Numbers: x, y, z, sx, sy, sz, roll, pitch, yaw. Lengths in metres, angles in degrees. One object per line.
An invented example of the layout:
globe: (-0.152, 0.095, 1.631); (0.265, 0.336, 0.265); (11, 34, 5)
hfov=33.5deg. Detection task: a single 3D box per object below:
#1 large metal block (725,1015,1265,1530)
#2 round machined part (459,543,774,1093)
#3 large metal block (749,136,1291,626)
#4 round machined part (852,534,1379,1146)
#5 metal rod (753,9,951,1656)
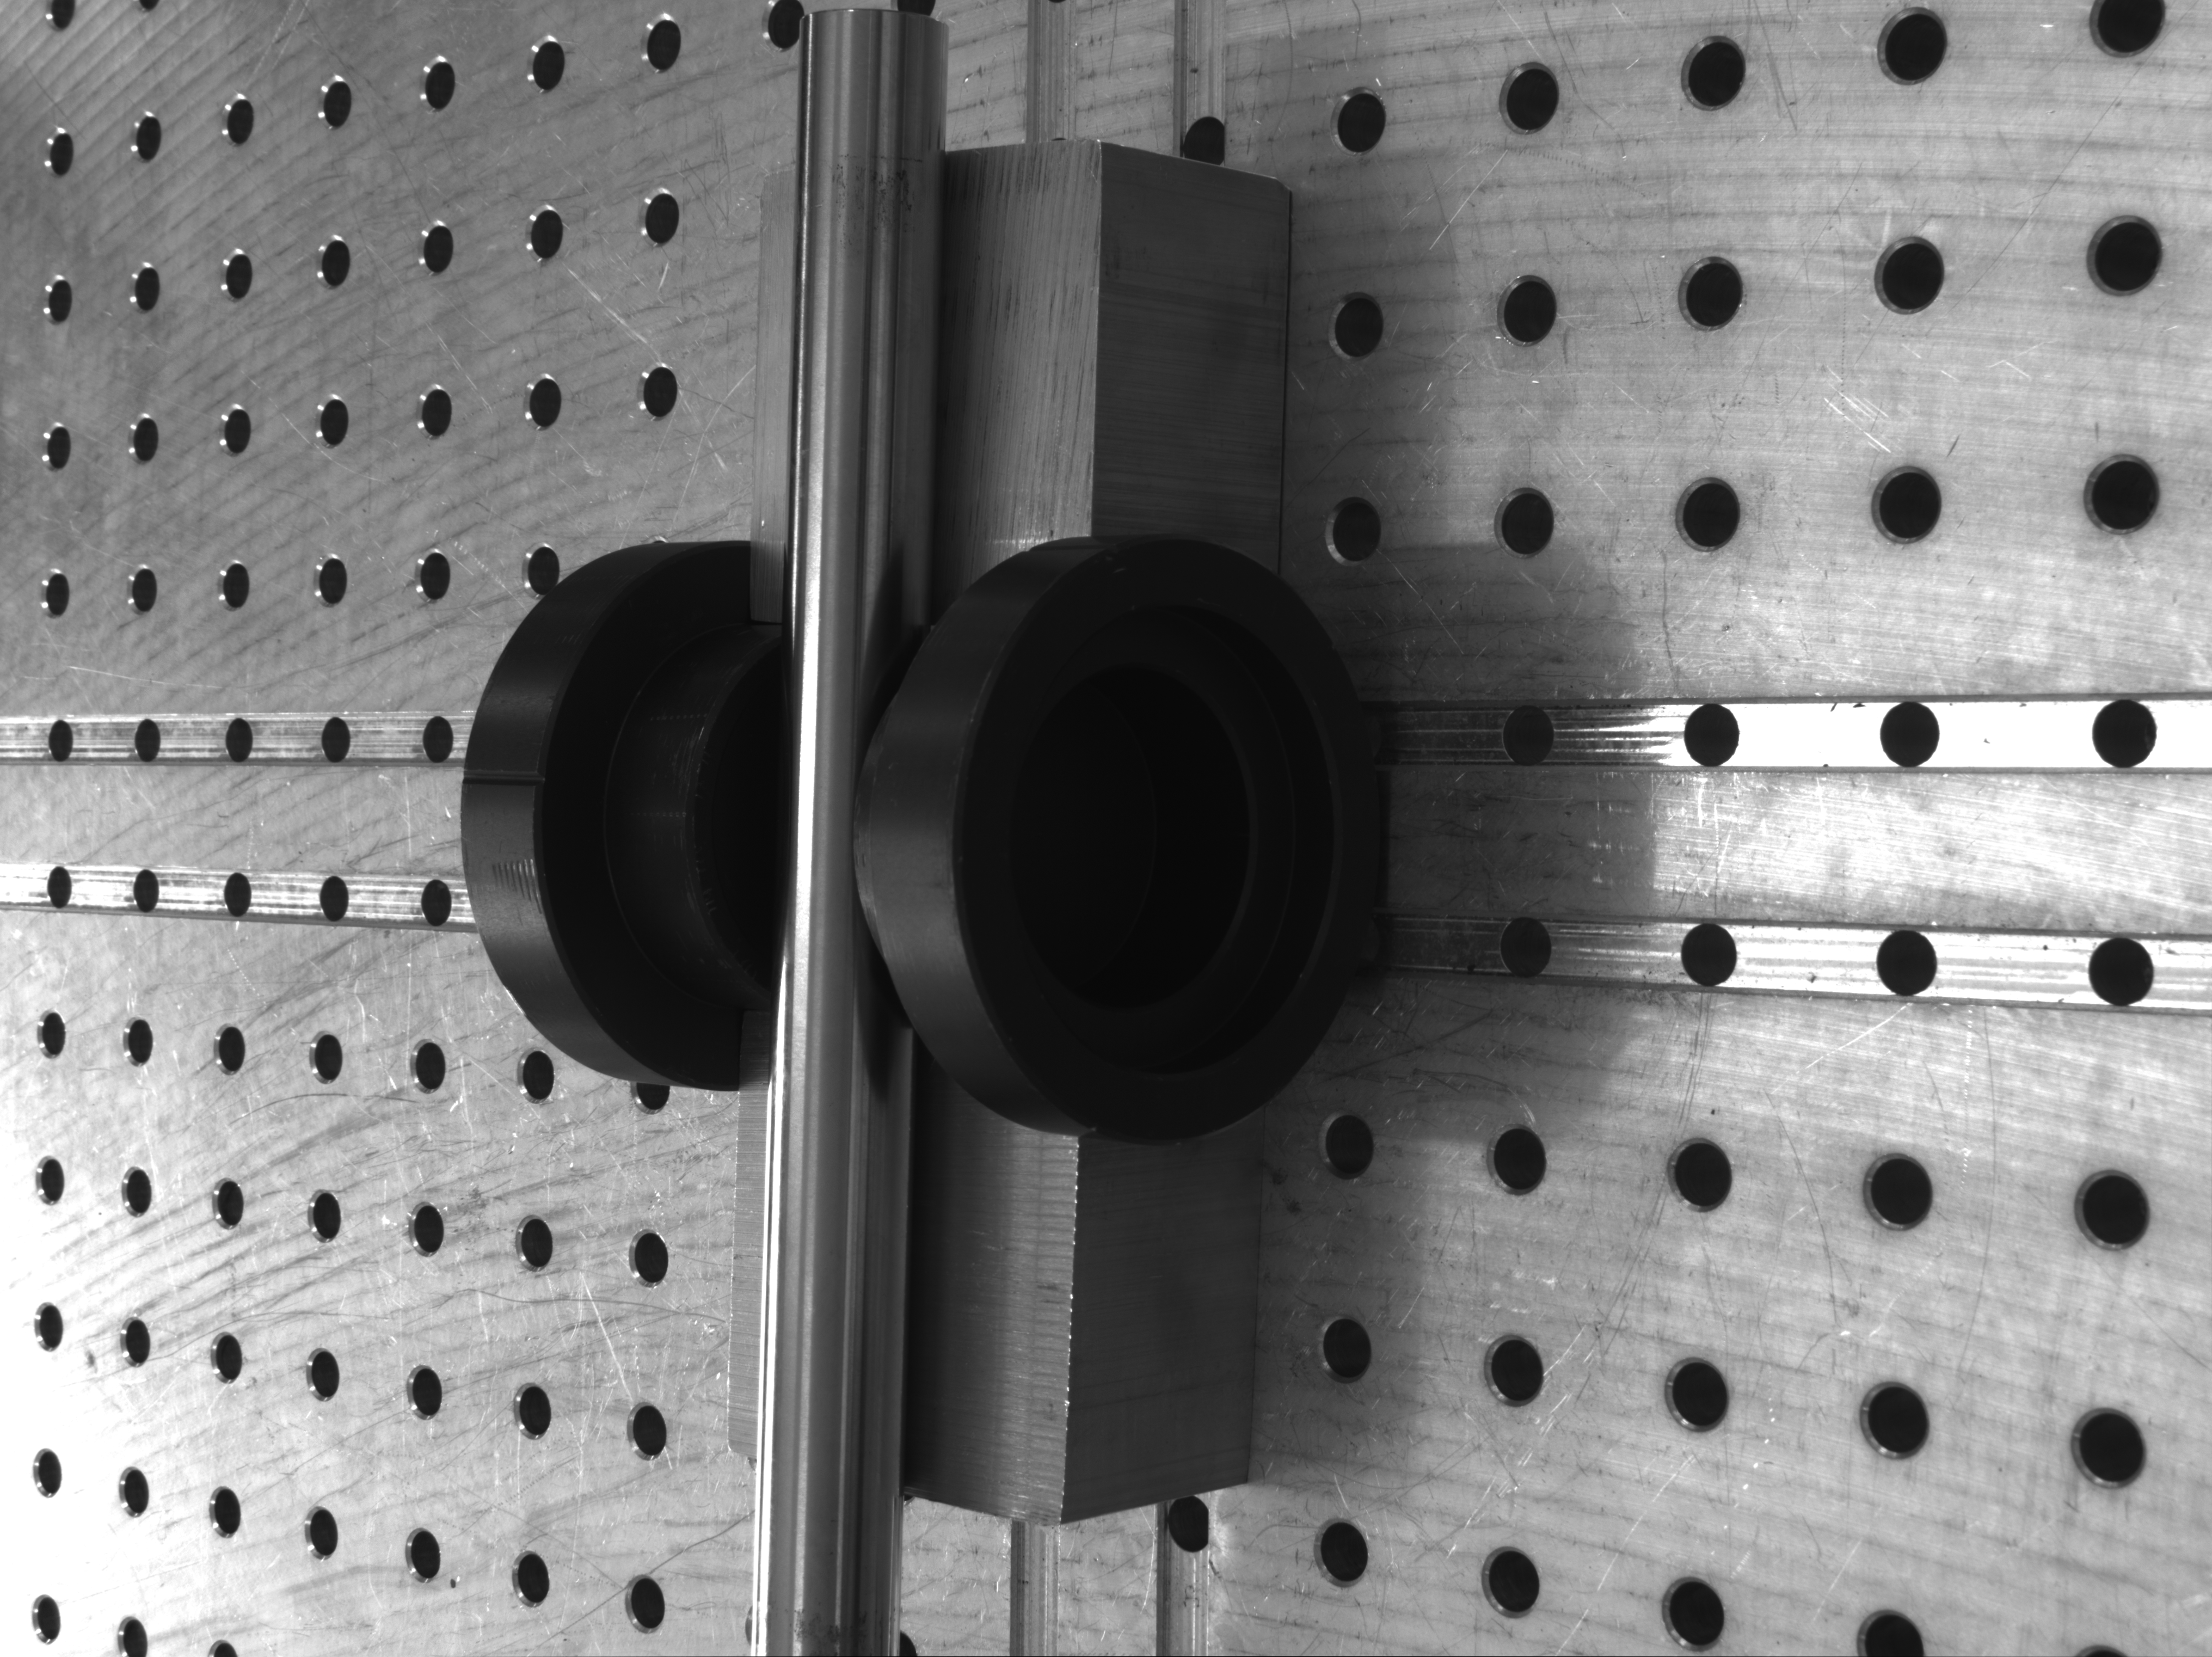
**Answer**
large metal block: (-0.020, 0.074, 0.649); (0.080, 0.050, 0.080); (4, 92, 40)
round machined part: (-0.064, -0.002, 0.654); (0.042, 0.098, 0.098); (2, 91, 40)
large metal block: (-0.016, -0.074, 0.645); (0.080, 0.050, 0.080); (3, 92, 40)
round machined part: (-0.003, 0.001, 0.603); (0.042, 0.098, 0.098); (2, 91, 45)
metal rod: (-0.043, 0.015, 0.620); (0.025, 0.025, 0.300); (3, 92, 40)
